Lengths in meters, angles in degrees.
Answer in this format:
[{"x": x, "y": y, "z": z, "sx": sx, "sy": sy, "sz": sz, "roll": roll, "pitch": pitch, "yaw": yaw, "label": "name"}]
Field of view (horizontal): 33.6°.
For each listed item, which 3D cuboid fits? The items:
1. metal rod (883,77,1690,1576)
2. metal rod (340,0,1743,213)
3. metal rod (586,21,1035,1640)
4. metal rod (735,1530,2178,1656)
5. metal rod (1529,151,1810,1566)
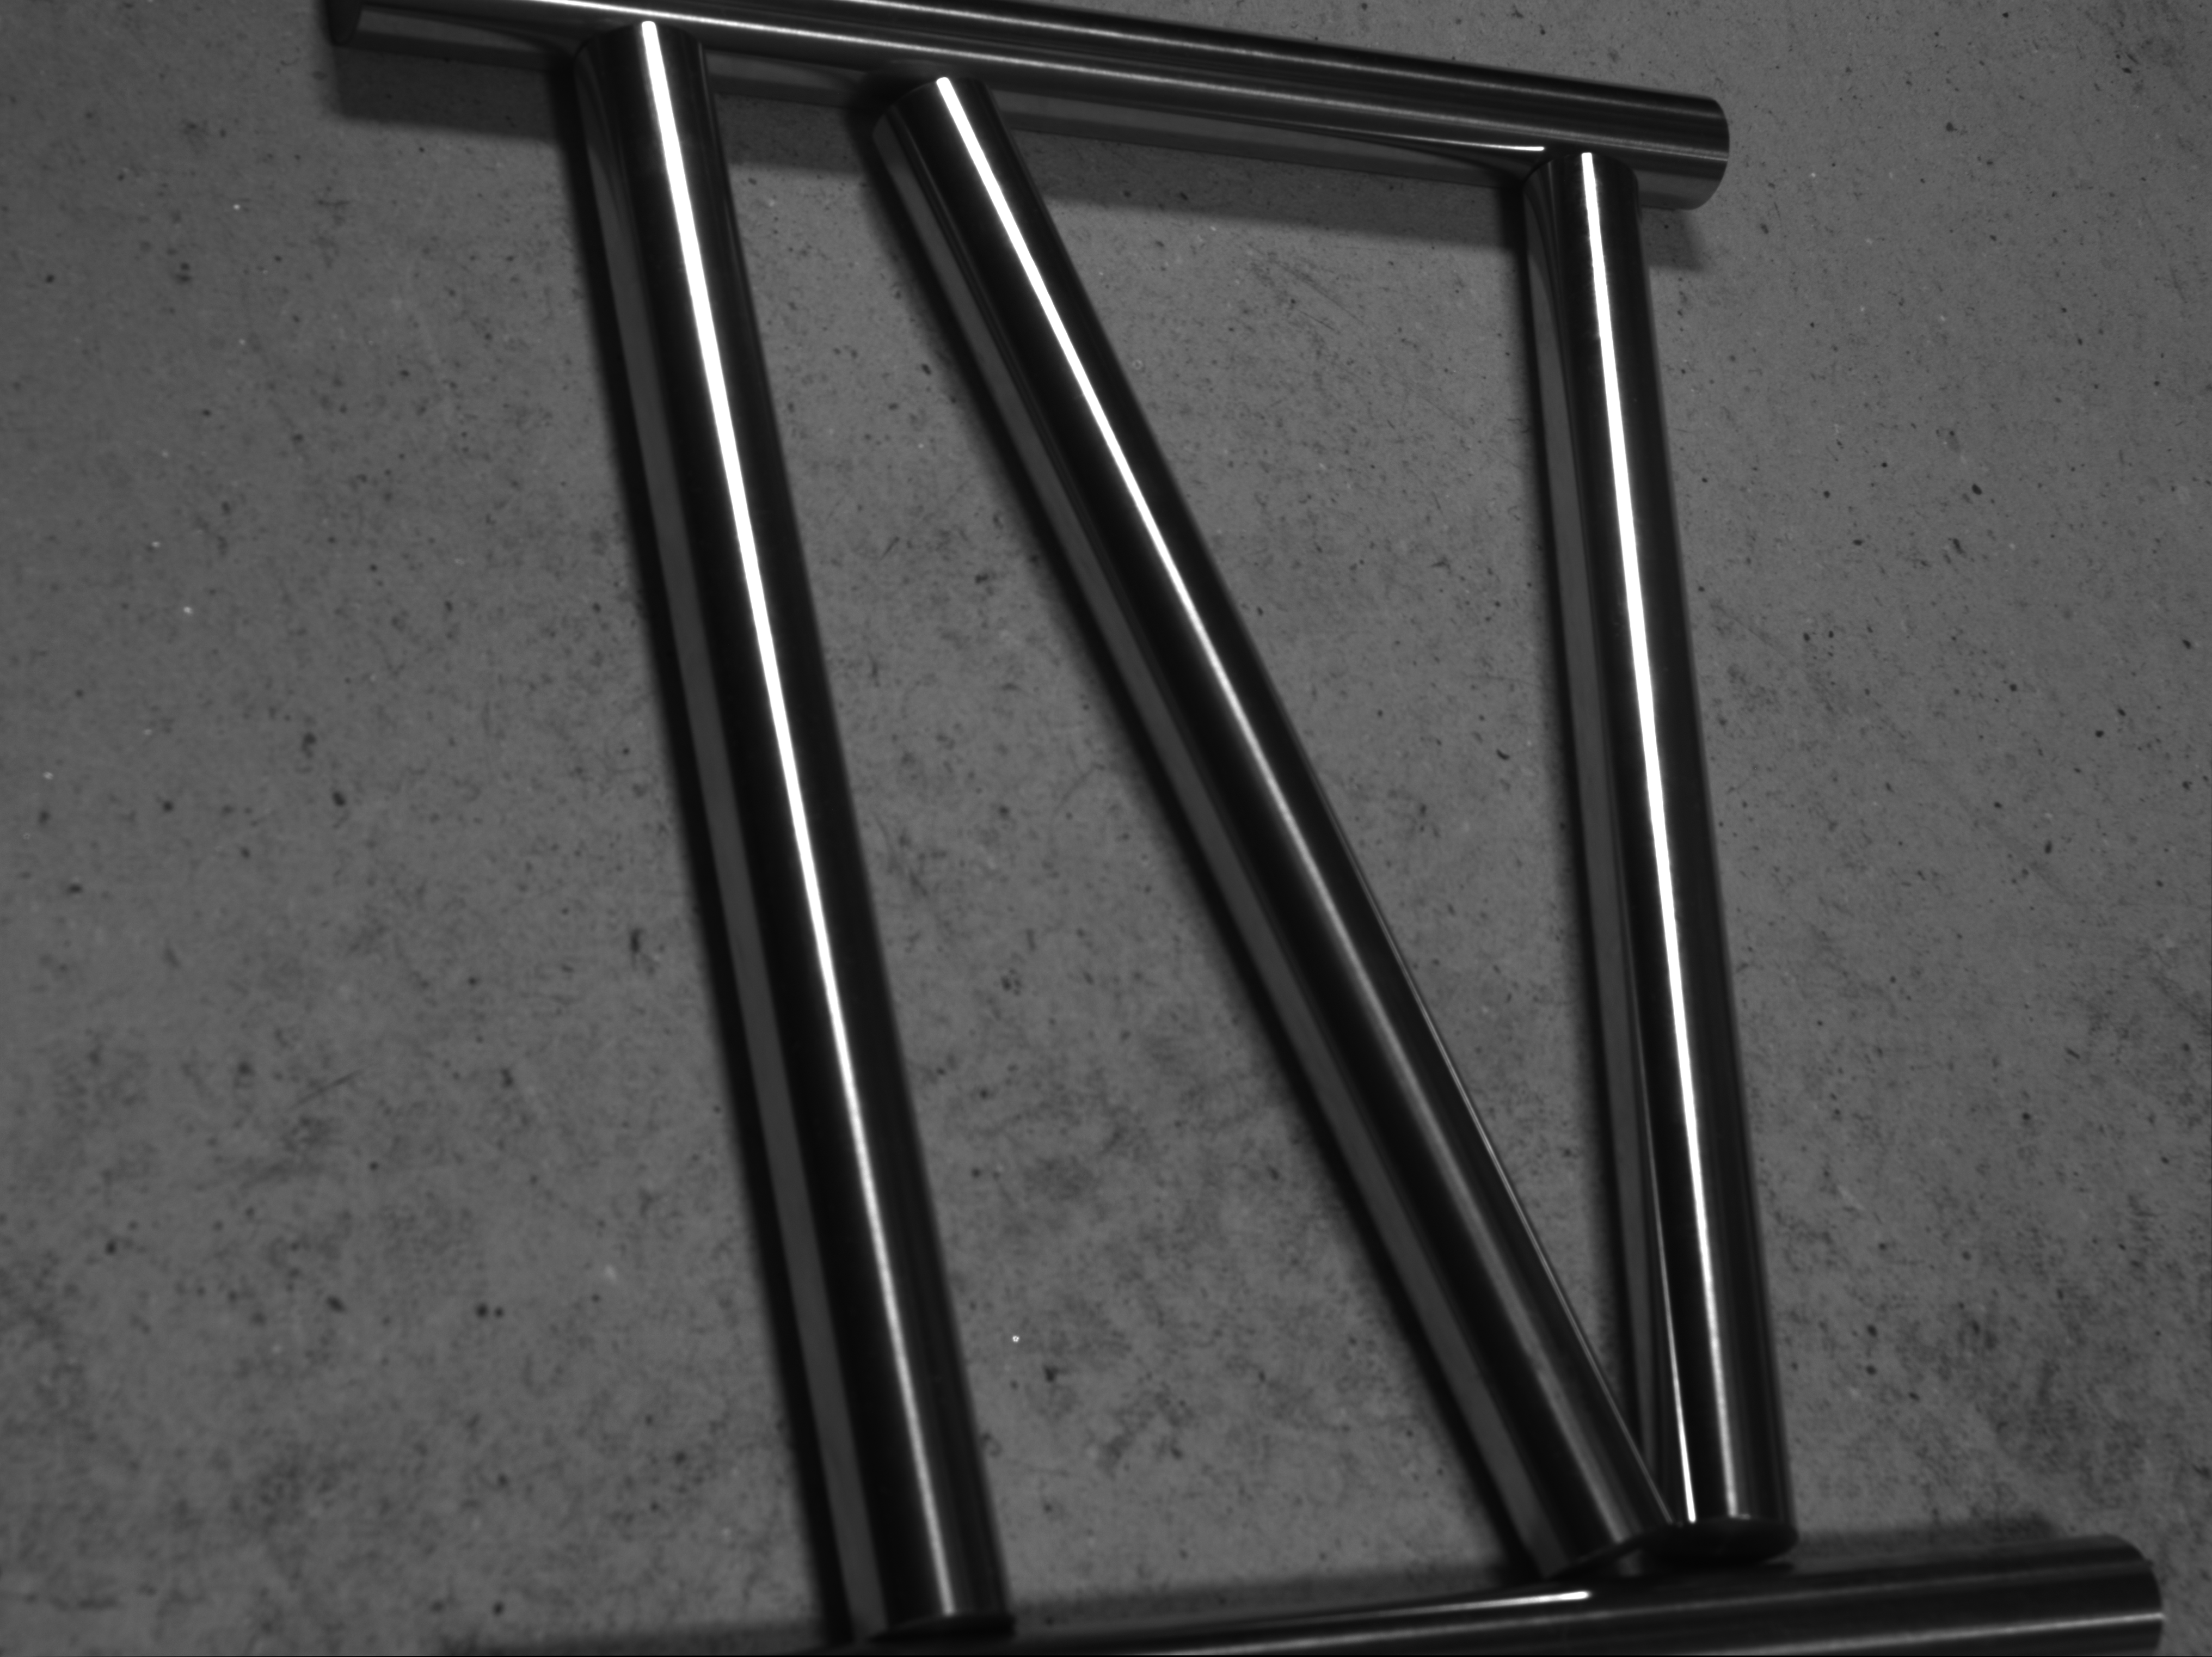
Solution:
[{"x": 0.027, "y": -0.008, "z": 0.658, "sx": 0.025, "sy": 0.025, "sz": 0.300, "roll": -12, "pitch": 68, "yaw": -33, "label": "metal rod"}, {"x": -0.002, "y": -0.150, "z": 0.731, "sx": 0.301, "sy": 0.025, "sz": 0.025, "roll": 1, "pitch": 61, "yaw": -28, "label": "metal rod"}, {"x": -0.054, "y": -0.010, "z": 0.616, "sx": 0.025, "sy": 0.025, "sz": 0.300, "roll": 1, "pitch": 61, "yaw": -28, "label": "metal rod"}, {"x": 0.049, "y": 0.135, "z": 0.583, "sx": 0.301, "sy": 0.025, "sz": 0.025, "roll": 1, "pitch": 61, "yaw": -28, "label": "metal rod"}, {"x": 0.105, "y": -0.007, "z": 0.699, "sx": 0.025, "sy": 0.025, "sz": 0.300, "roll": 13, "pitch": 56, "yaw": -21, "label": "metal rod"}]
